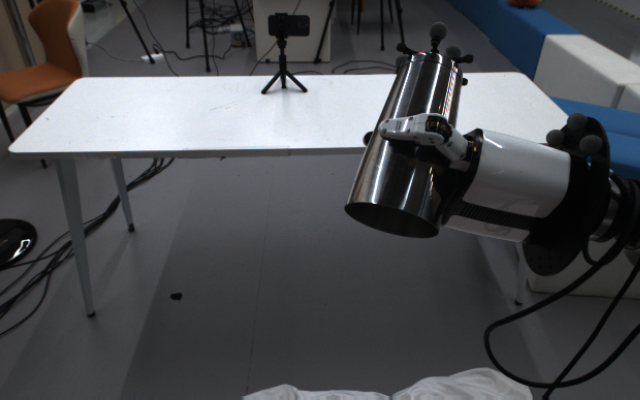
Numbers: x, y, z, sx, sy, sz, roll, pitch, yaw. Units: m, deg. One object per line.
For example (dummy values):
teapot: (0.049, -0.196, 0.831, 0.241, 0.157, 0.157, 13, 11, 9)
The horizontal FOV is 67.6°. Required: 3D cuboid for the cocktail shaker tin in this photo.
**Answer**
cocktail shaker tin: (0.094, -0.056, 0.485, 0.093, 0.093, 0.170, 13, 74, 15)
